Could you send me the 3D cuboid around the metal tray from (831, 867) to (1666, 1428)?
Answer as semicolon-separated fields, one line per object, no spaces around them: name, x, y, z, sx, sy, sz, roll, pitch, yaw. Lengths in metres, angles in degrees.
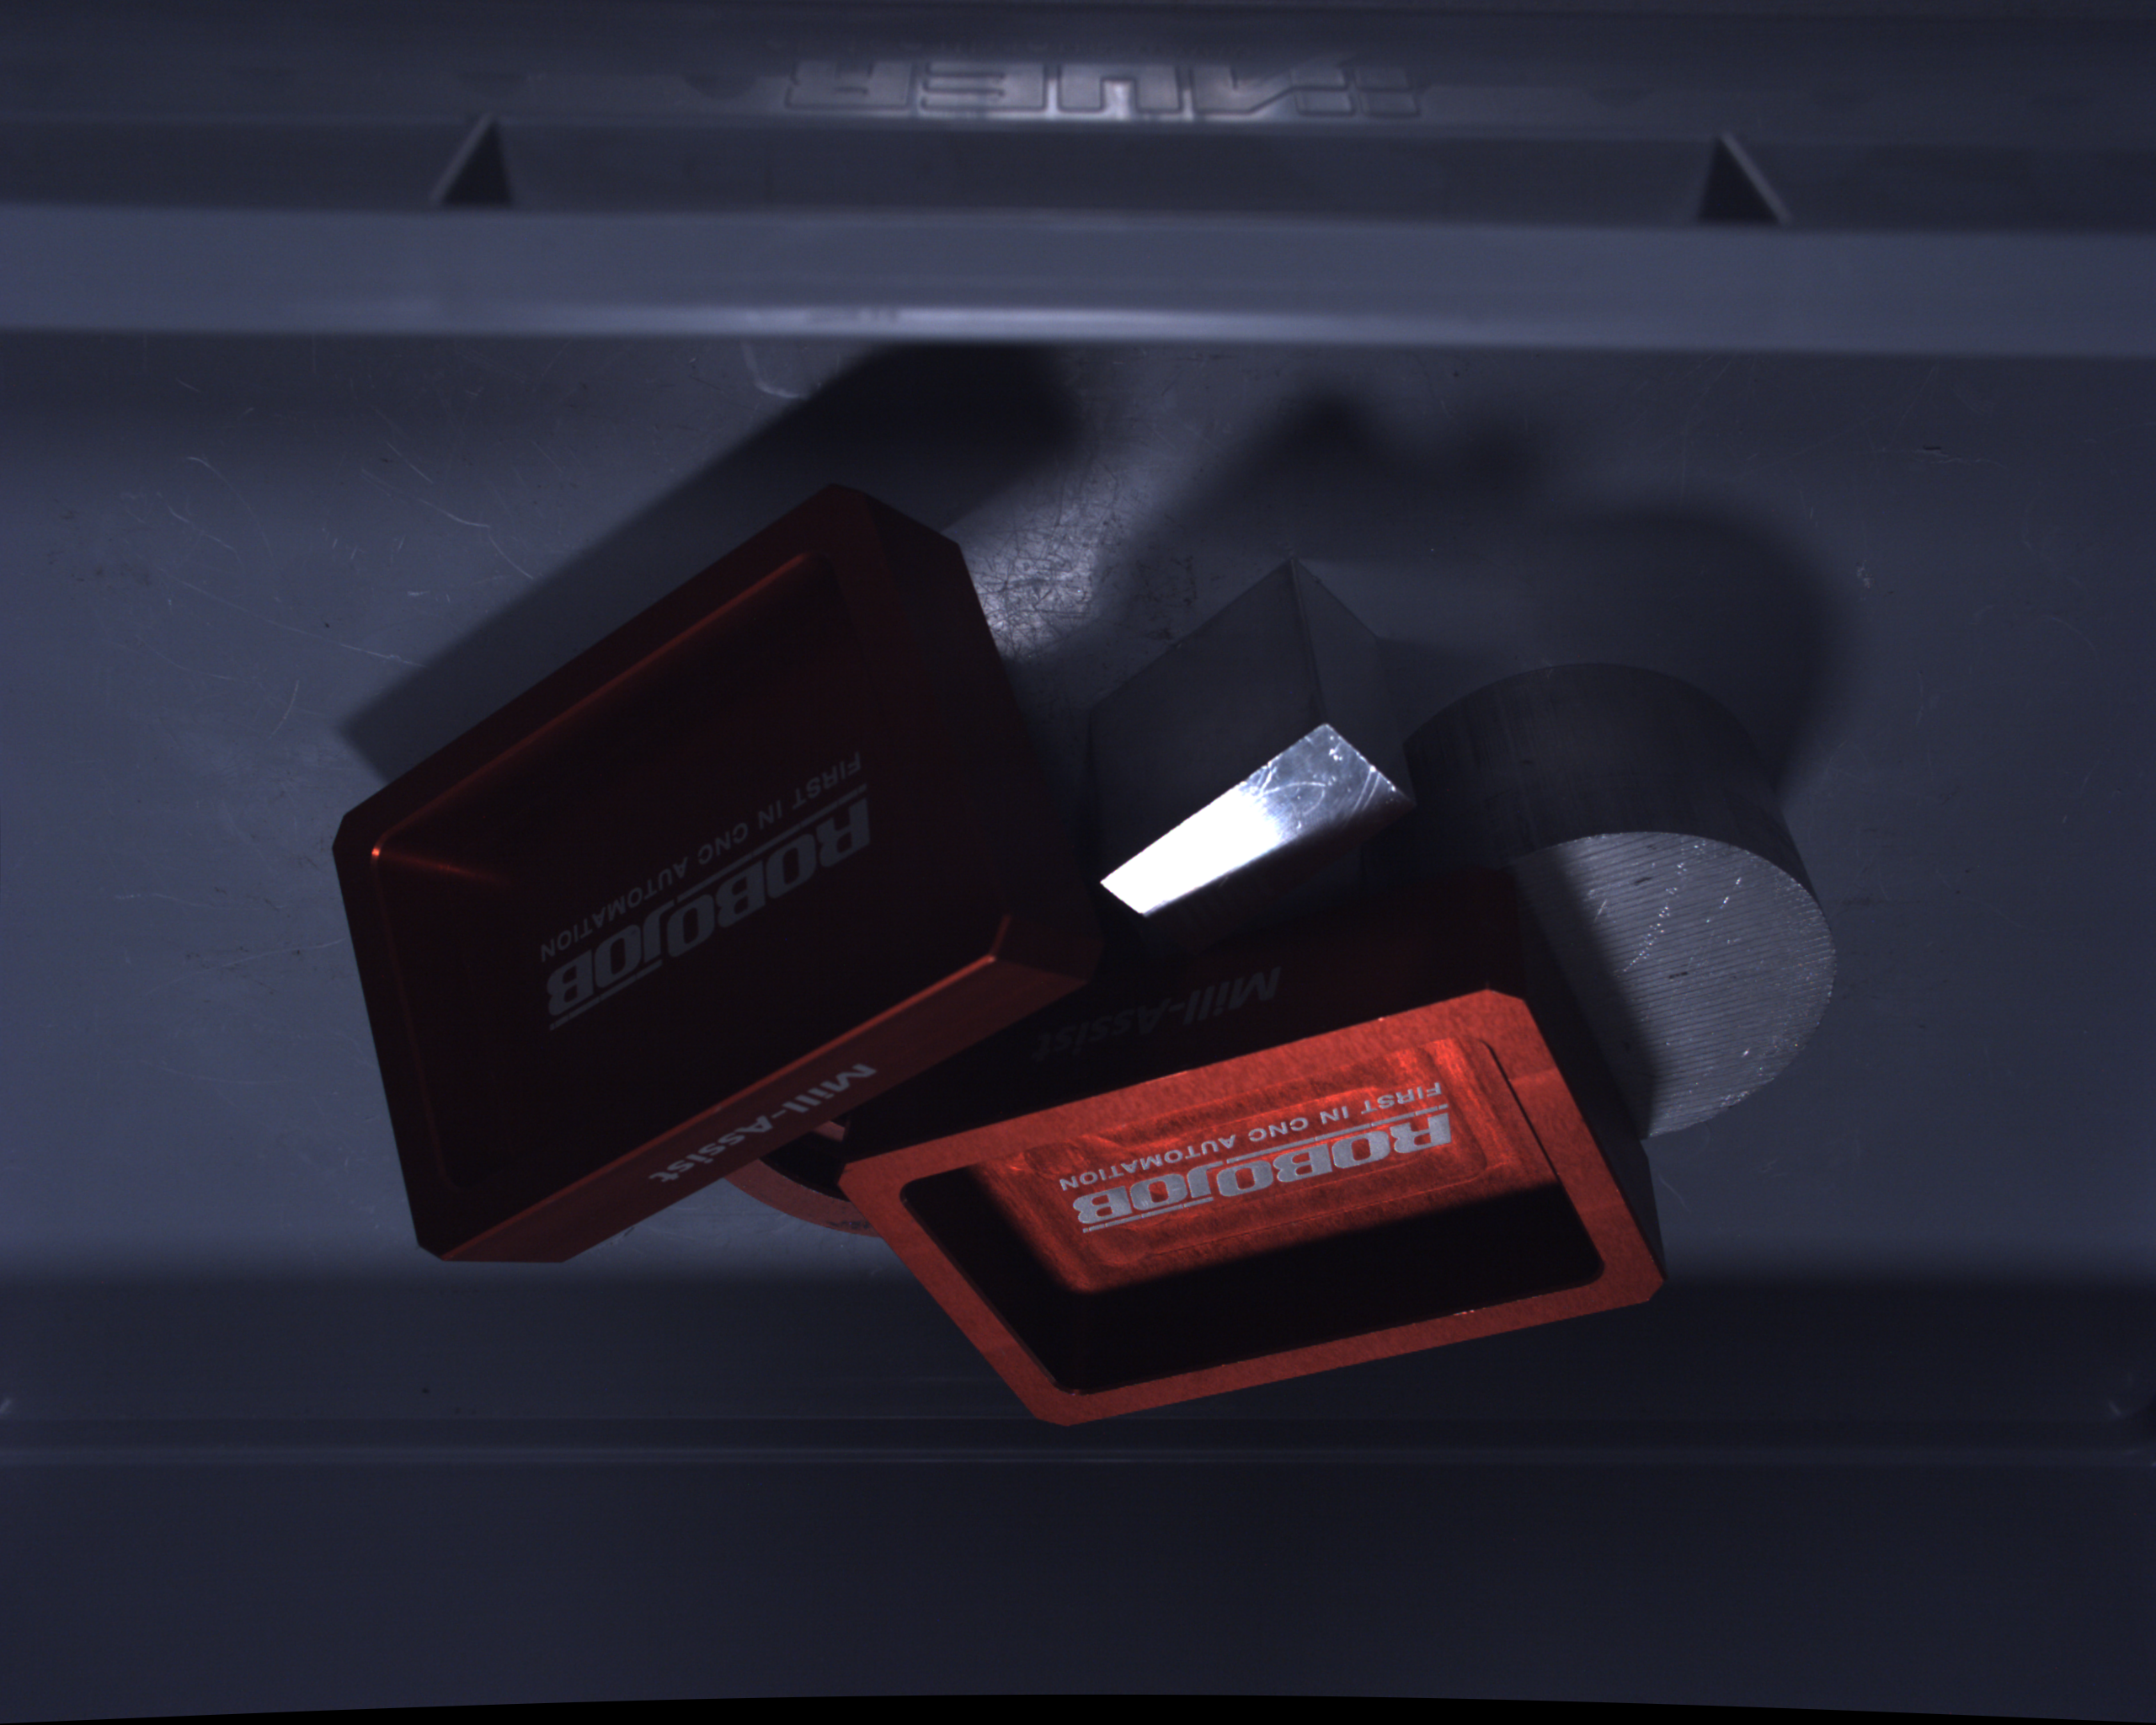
metal tray;0.032;0.058;0.391;0.130;0.030;0.090;-18;128;20

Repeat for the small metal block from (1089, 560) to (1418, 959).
small metal block;0.030;-0.019;0.374;0.050;0.050;0.025;-36;122;24

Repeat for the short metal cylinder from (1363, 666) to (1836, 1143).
short metal cylinder;0.097;0.009;0.399;0.081;0.050;0.079;0;130;0

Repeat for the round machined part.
round machined part;-0.033;0.029;0.421;0.099;0.042;0.097;-1;130;0

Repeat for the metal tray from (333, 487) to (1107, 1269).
metal tray;-0.068;0.006;0.366;0.130;0.090;0.030;-30;156;22
